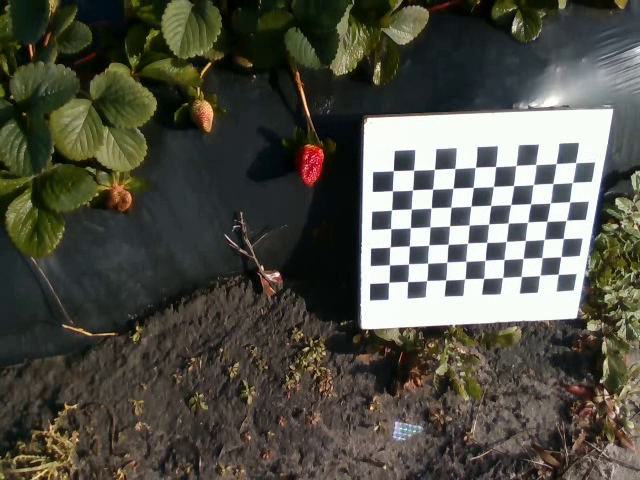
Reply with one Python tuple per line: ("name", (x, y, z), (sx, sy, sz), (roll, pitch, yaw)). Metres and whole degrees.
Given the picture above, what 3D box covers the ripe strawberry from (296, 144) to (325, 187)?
("ripe strawberry", (-0.005, -0.031, 0.252), (0.015, 0.023, 0.015), (5, -29, -8))
